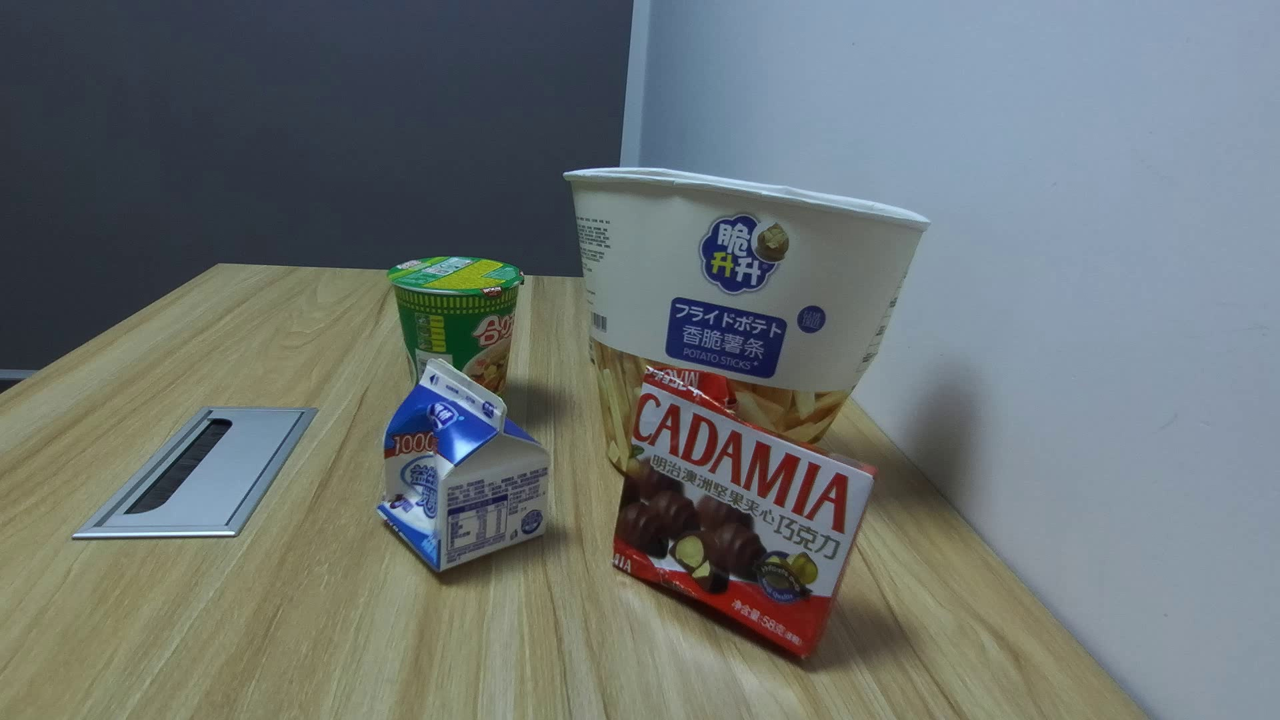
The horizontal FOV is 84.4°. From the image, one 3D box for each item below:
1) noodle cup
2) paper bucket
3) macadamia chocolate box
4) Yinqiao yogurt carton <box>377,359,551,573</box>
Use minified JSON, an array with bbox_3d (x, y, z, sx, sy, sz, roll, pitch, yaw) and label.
[{"bbox_3d":[-0.140,-0.014,0.542,0.097,0.110,0.097,5,21,-2],"label":"noodle cup"},{"bbox_3d":[0.052,-0.025,0.485,0.218,0.199,0.147,3,22,-5],"label":"paper bucket"},{"bbox_3d":[0.050,0.073,0.362,0.126,0.112,0.056,19,22,34],"label":"macadamia chocolate box"},{"bbox_3d":[-0.099,0.055,0.402,0.077,0.094,0.071,24,22,39],"label":"Yinqiao yogurt carton"}]
